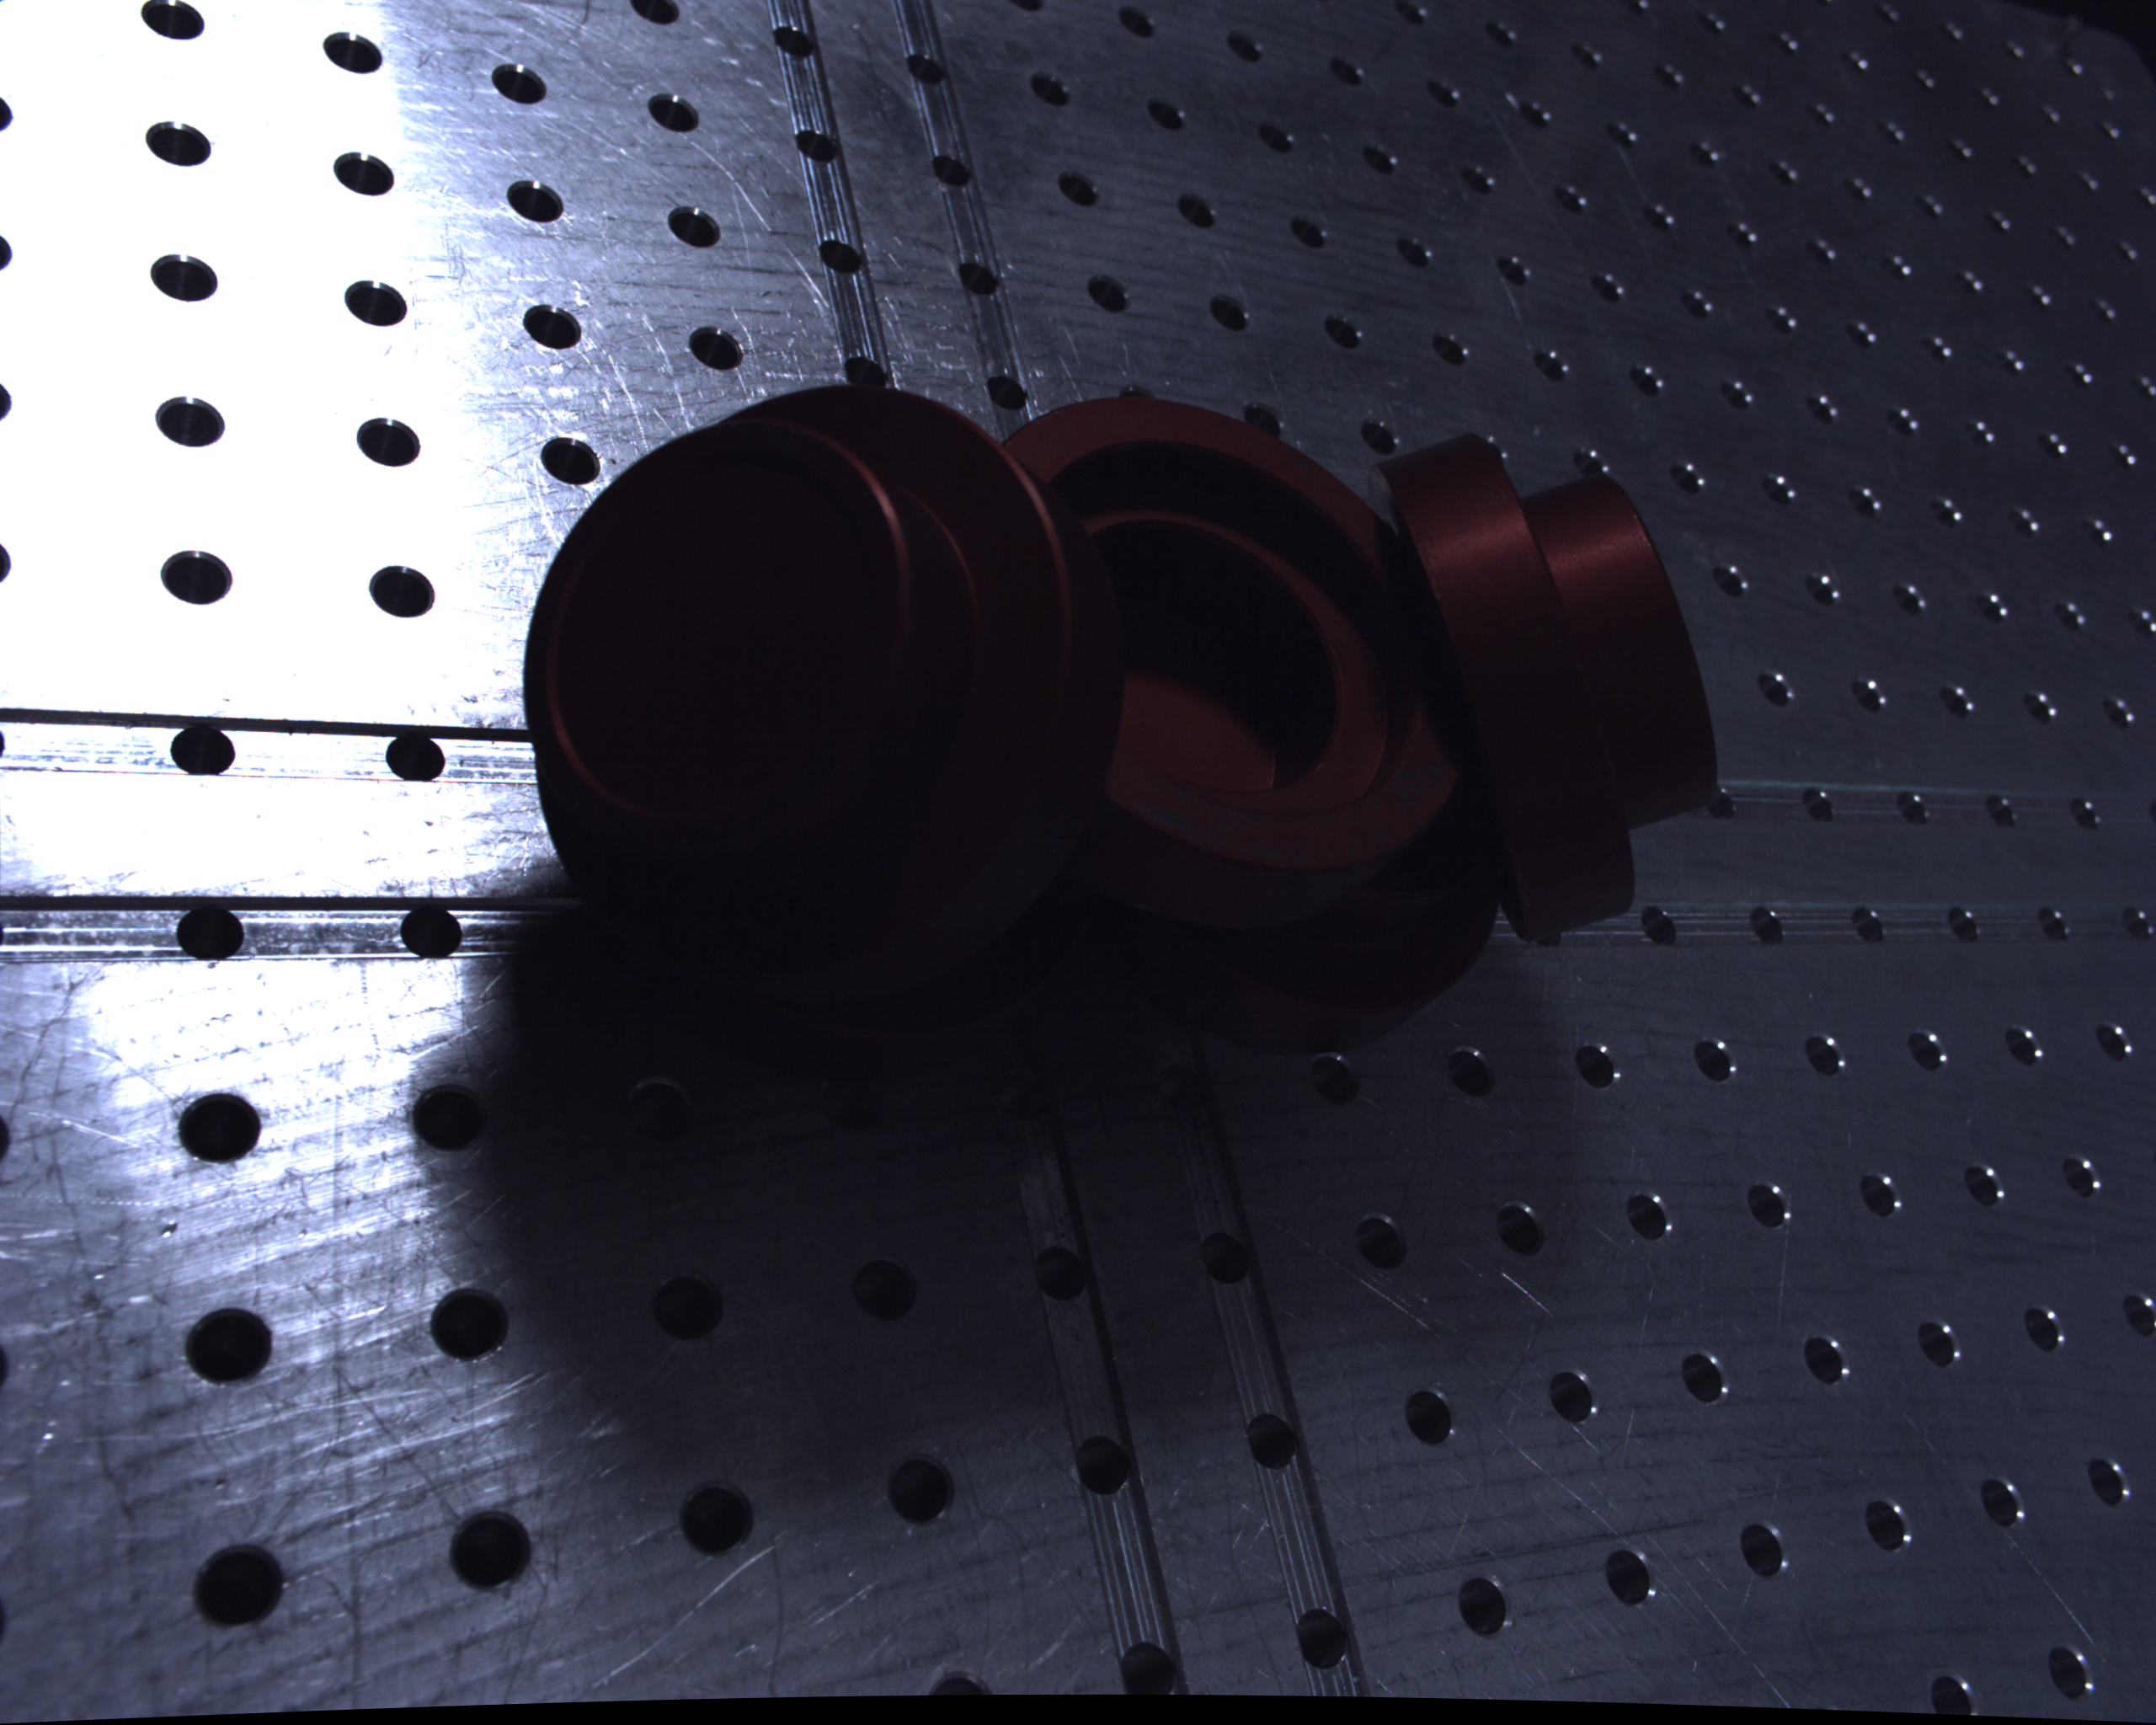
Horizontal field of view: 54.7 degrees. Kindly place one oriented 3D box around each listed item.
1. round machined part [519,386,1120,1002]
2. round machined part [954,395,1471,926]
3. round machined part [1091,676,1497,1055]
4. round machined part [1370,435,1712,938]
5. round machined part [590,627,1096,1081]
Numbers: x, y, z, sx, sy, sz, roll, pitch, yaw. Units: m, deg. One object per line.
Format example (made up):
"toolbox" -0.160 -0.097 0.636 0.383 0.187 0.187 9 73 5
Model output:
"round machined part" -0.047 -0.029 0.326 0.042 0.098 0.098 28 39 -62
"round machined part" 0.017 -0.032 0.372 0.099 0.042 0.098 14 56 -21
"round machined part" 0.047 -0.013 0.432 0.099 0.042 0.098 14 56 -21
"round machined part" 0.091 -0.037 0.405 0.042 0.098 0.098 -18 65 8
"round machined part" -0.040 -0.013 0.384 0.099 0.042 0.098 14 56 -21
